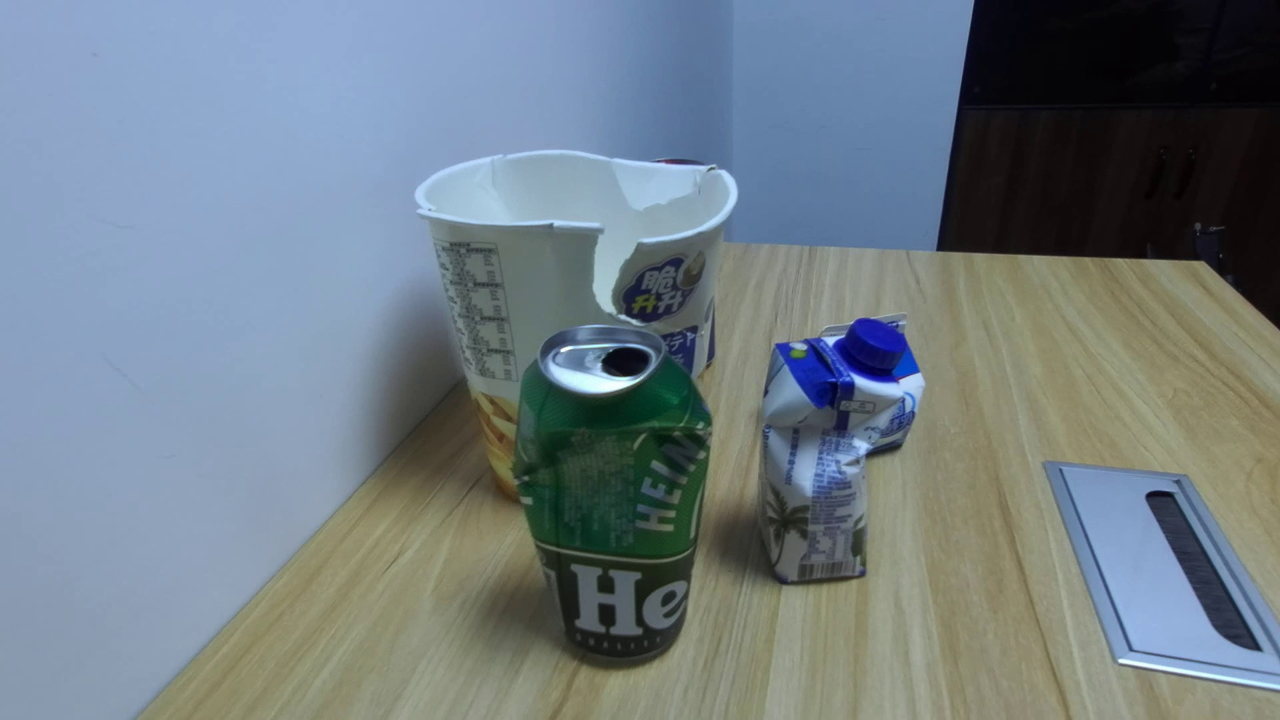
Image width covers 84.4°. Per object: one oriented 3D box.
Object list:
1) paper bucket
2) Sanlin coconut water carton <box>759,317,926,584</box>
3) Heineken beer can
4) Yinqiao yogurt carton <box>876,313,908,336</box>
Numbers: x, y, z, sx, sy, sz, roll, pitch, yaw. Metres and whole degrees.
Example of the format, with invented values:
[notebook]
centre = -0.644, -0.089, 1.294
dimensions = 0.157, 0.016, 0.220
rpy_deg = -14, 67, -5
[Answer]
[paper bucket]
centre = -0.035, -0.020, 0.453
dimensions = 0.202, 0.197, 0.146
rpy_deg = 10, 33, 24
[Sanlin coconut water carton]
centre = 0.096, 0.048, 0.369
dimensions = 0.070, 0.144, 0.060
rpy_deg = -3, 30, -2
[Heineken beer can]
centre = -0.014, 0.067, 0.331
dimensions = 0.066, 0.164, 0.077
rpy_deg = -26, 38, -33
[Yinqiao yogurt carton]
centre = 0.150, 0.013, 0.486
dimensions = 0.074, 0.097, 0.080
rpy_deg = -13, 36, -12
